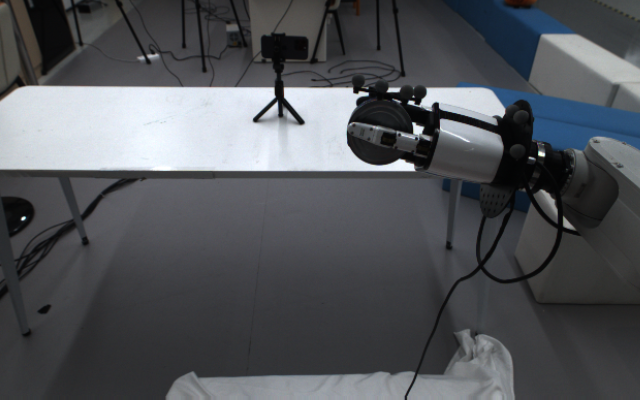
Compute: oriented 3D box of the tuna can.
[{"bbox_3d":[0.079,-0.093,0.639,0.085,0.085,0.034,5,18,4],"label":"tuna can"}]
